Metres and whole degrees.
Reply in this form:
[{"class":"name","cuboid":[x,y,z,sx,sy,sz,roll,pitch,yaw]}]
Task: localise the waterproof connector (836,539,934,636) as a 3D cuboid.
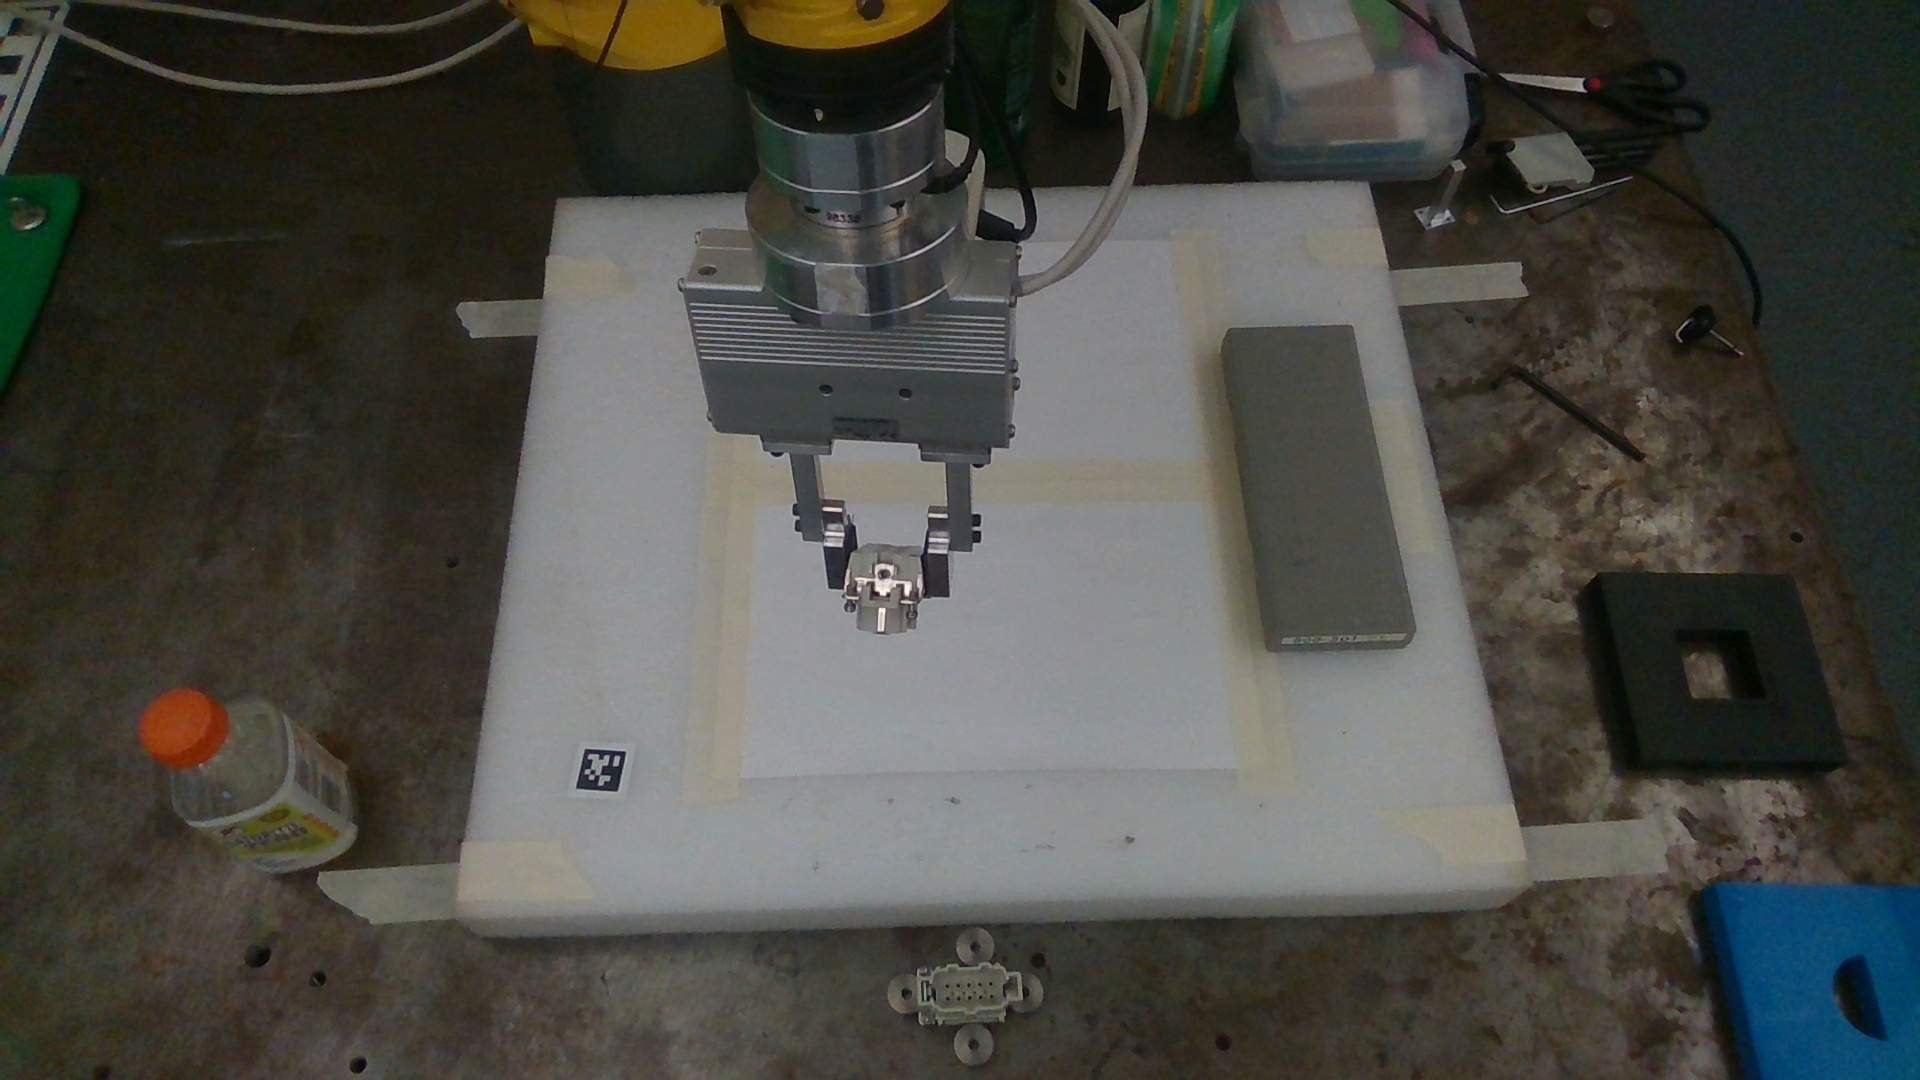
[{"class":"waterproof connector","cuboid":[-0.032,0.021,0.617,0.037,0.069,0.038,5,93,4]}]
